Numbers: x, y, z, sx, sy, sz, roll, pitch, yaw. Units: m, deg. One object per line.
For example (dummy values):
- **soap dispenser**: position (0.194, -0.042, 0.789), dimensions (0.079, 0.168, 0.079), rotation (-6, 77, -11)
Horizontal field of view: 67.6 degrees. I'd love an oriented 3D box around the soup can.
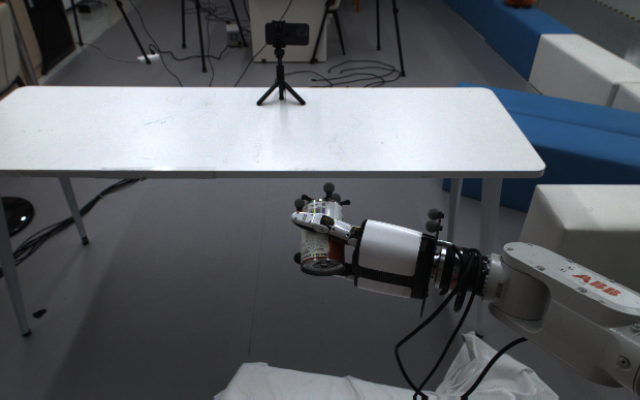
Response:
- **soup can**: position (0.006, 0.059, 0.741), dimensions (0.067, 0.067, 0.101), rotation (1, 62, -2)
